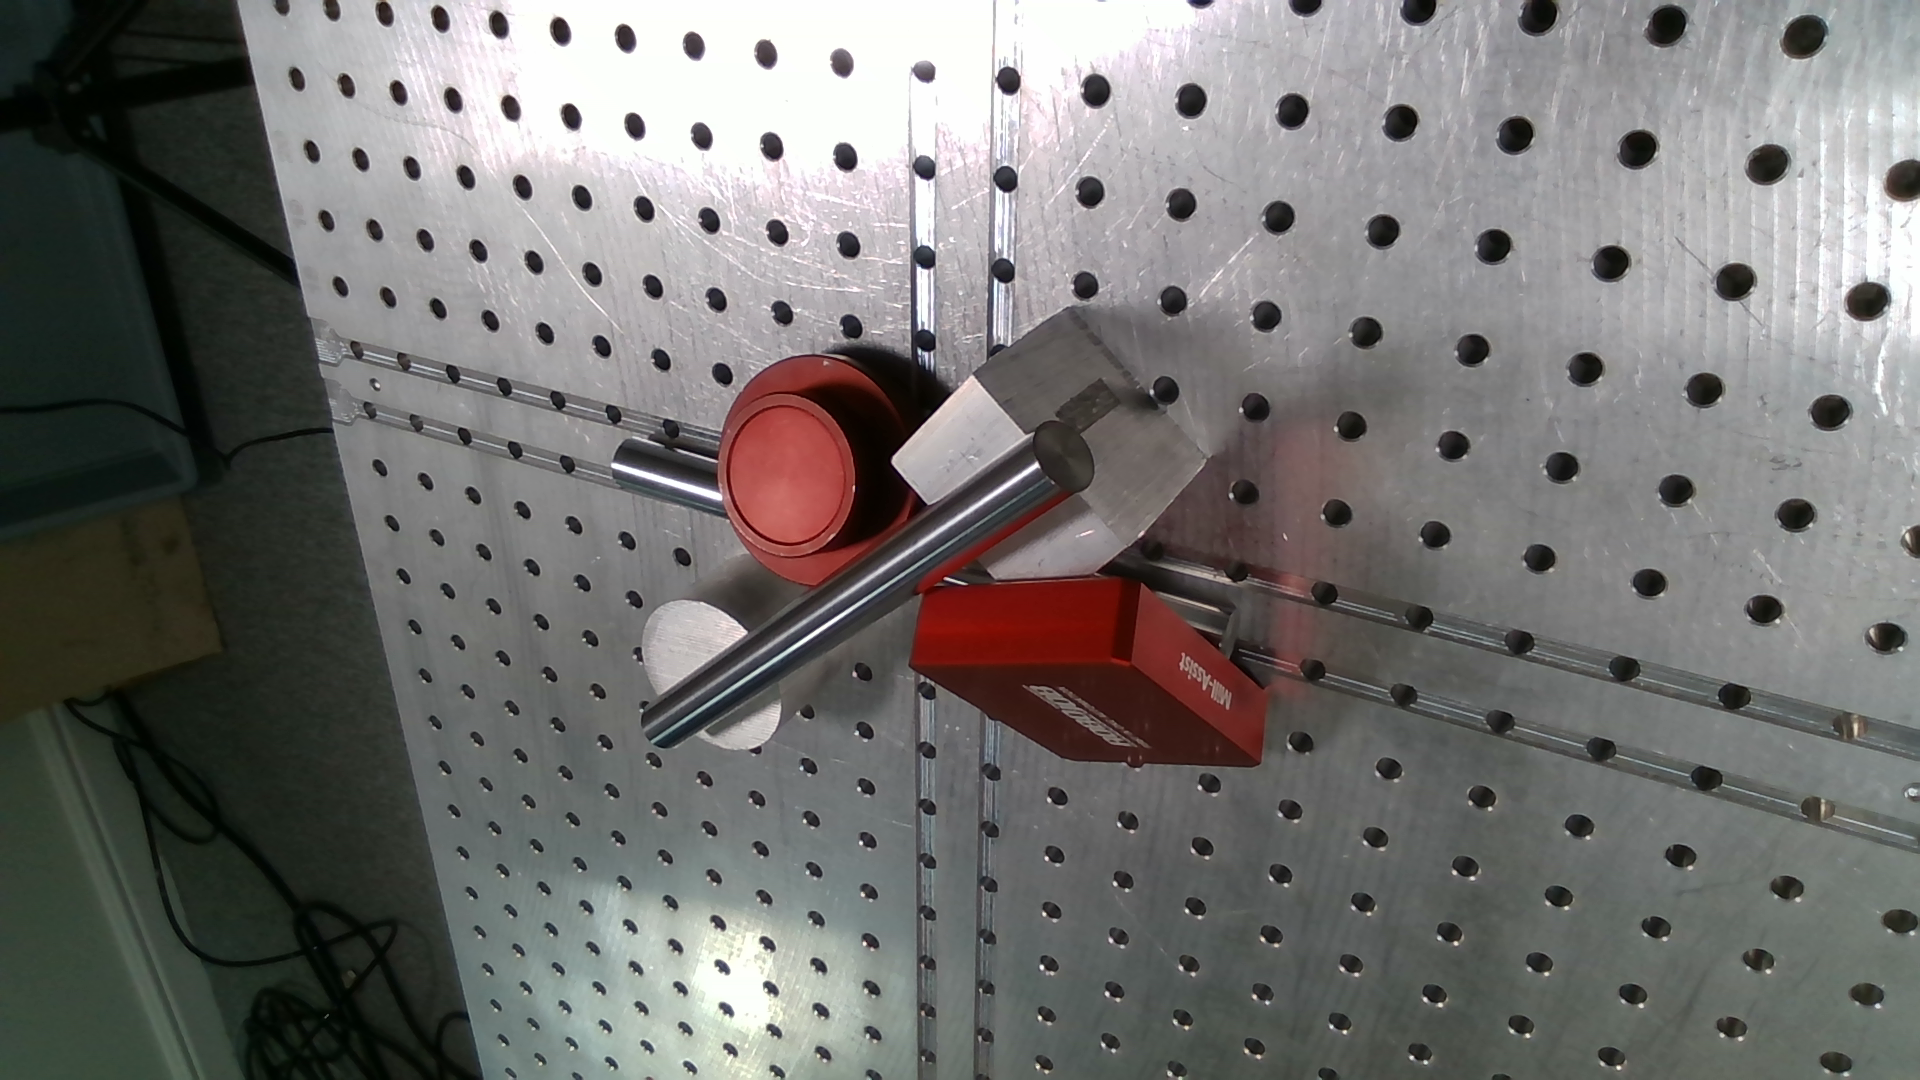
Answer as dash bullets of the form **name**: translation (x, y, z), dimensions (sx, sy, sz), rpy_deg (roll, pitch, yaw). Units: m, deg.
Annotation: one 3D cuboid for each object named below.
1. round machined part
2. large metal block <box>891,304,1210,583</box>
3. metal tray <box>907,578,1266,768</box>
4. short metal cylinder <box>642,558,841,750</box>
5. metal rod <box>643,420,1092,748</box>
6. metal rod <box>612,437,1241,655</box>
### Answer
- **round machined part**: translation (-0.063, -0.028, 0.575), dimensions (0.098, 0.042, 0.098), rpy_deg (5, 100, 26)
- **large metal block**: translation (0.035, -0.031, 0.510), dimensions (0.080, 0.080, 0.050), rpy_deg (48, 129, 0)
- **metal tray**: translation (0.052, 0.054, 0.527), dimensions (0.090, 0.030, 0.130), rpy_deg (-4, 154, 33)
- **short metal cylinder**: translation (-0.105, 0.053, 0.661), dimensions (0.080, 0.050, 0.080), rpy_deg (14, 122, 25)
- **metal rod**: translation (-0.053, 0.030, 0.541), dimensions (0.025, 0.025, 0.301), rpy_deg (53, 137, -4)
- **metal rod**: translation (-0.026, 0.001, 0.600), dimensions (0.300, 0.025, 0.025), rpy_deg (16, 123, 23)
